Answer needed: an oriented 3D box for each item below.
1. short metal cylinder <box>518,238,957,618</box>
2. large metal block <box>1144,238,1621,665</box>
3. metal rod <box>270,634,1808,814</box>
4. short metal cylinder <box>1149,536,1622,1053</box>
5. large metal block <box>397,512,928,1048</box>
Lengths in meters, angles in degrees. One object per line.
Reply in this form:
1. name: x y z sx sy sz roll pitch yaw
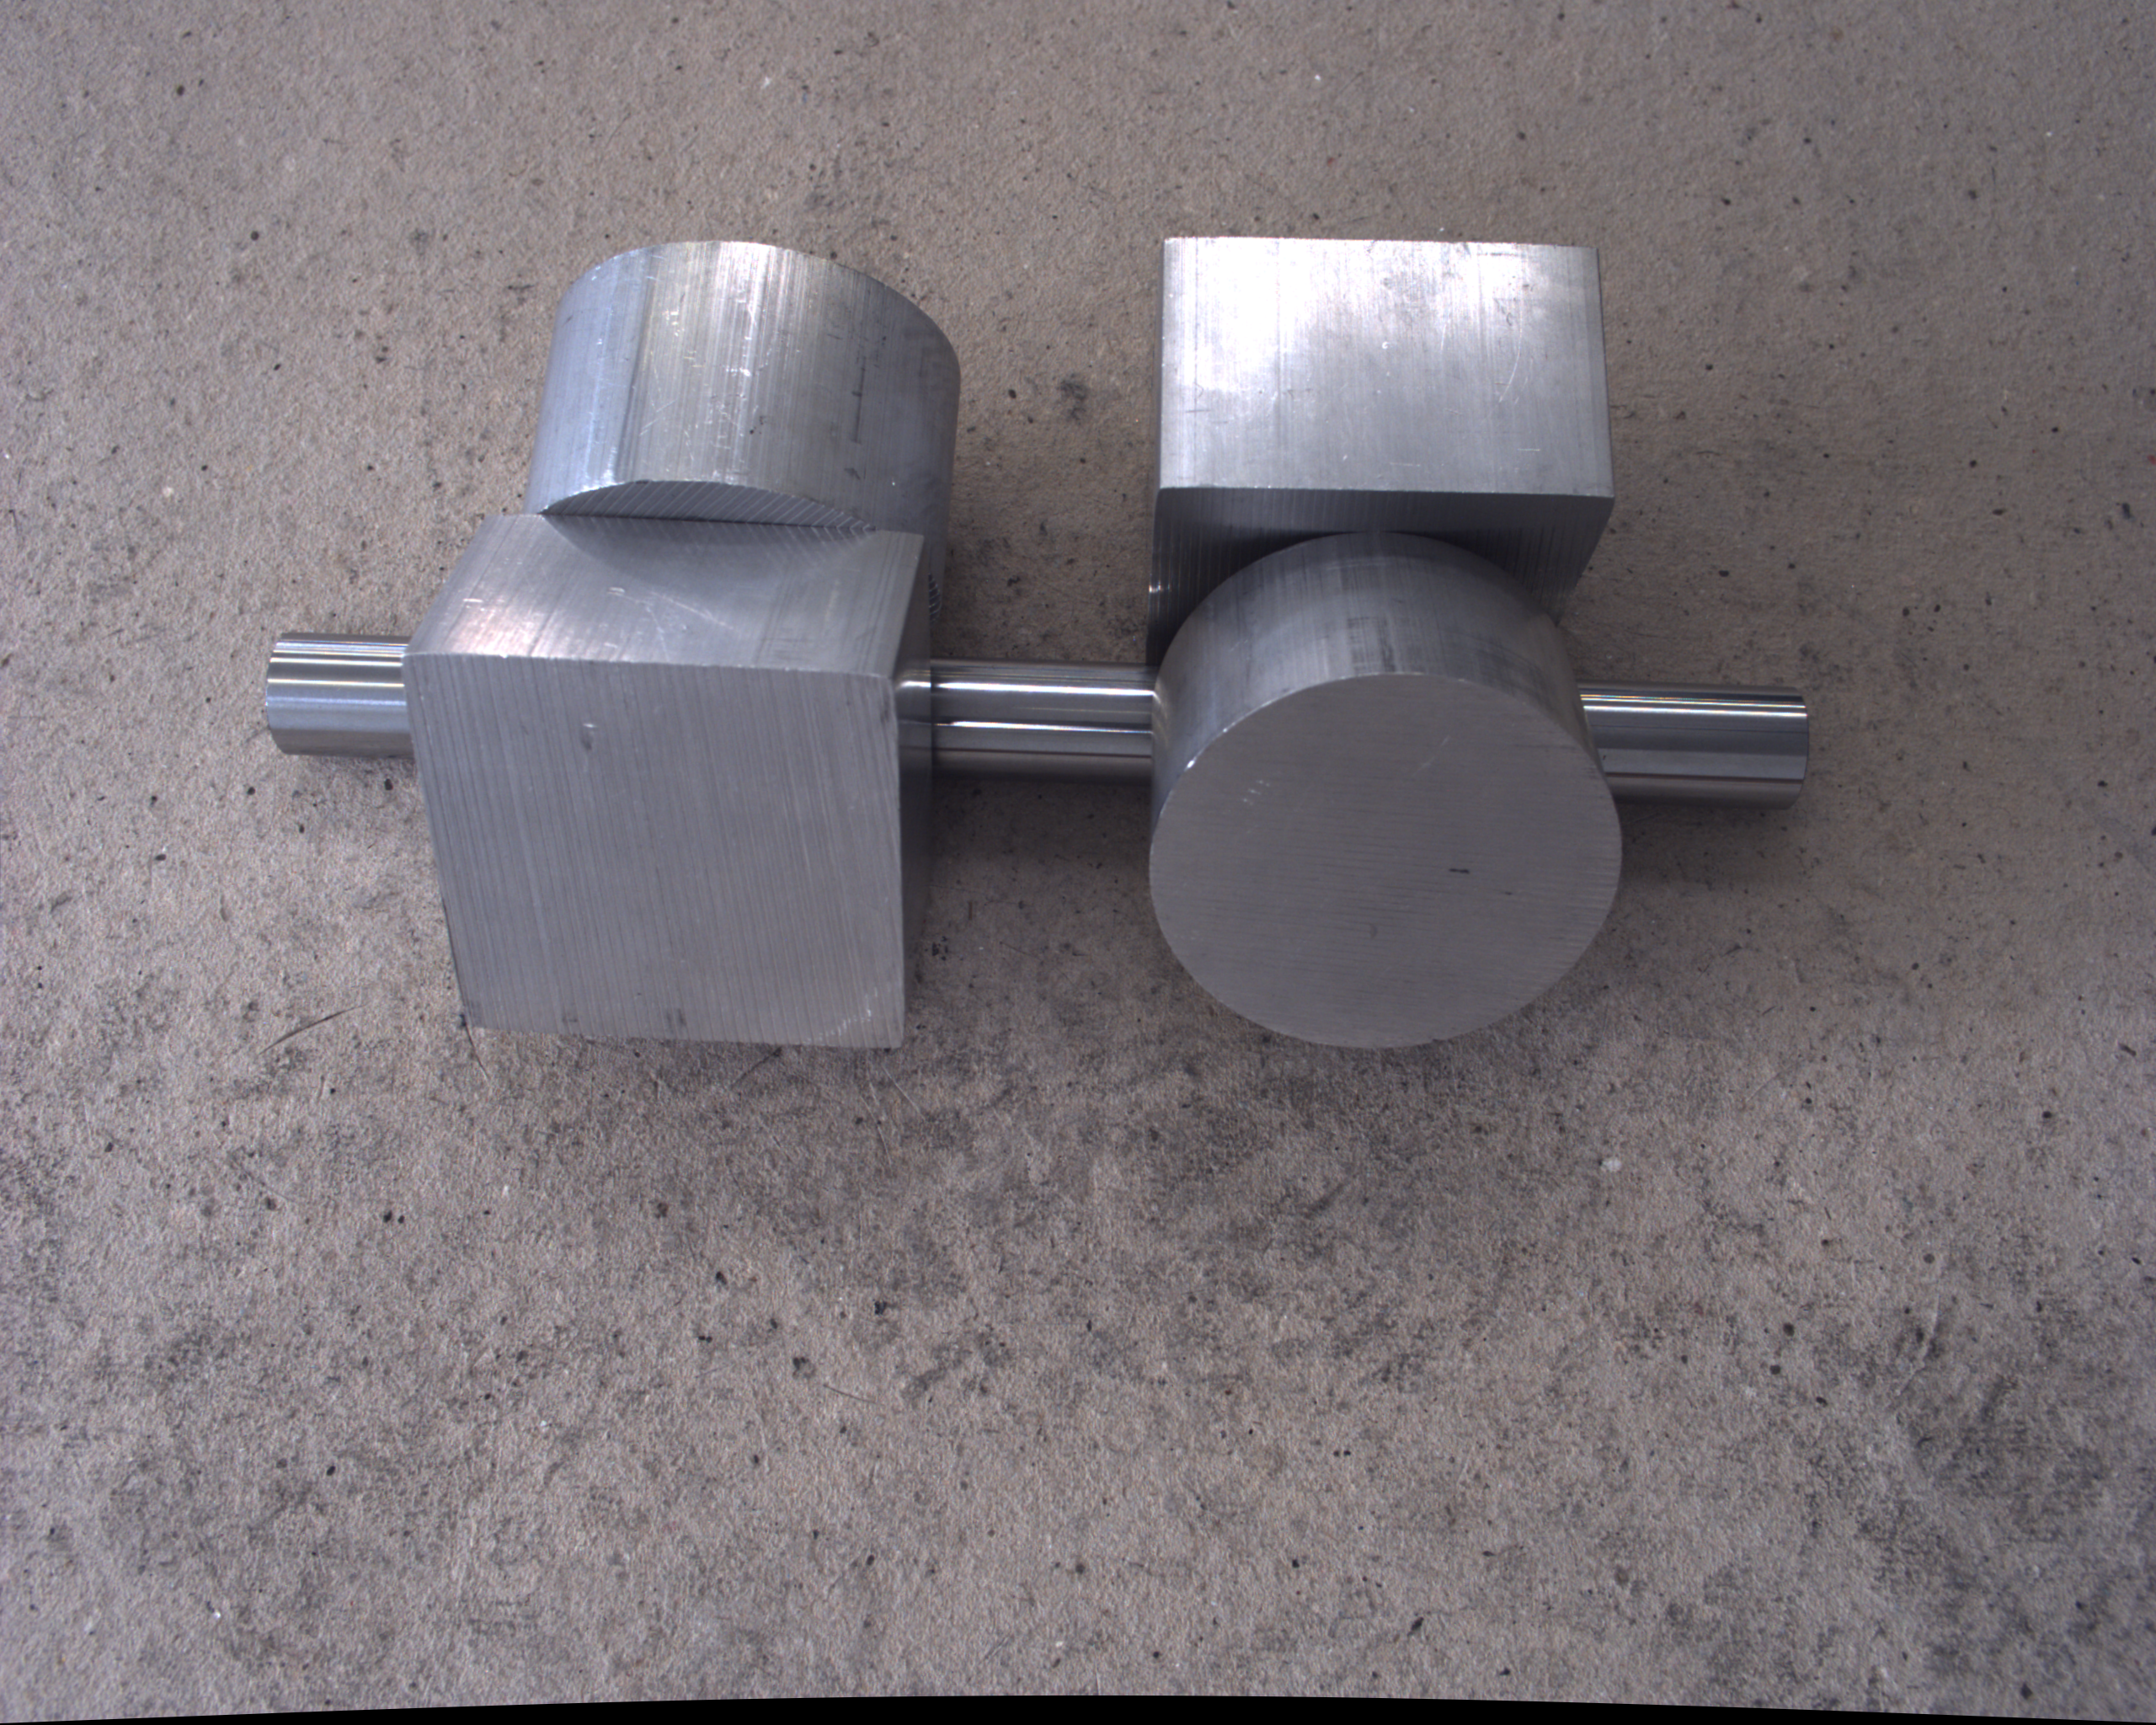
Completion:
1. short metal cylinder: -0.065 -0.076 0.407 0.080 0.080 0.050 3 70 1
2. large metal block: 0.055 -0.076 0.408 0.080 0.080 0.050 1 70 0
3. metal rod: -0.008 -0.028 0.421 0.302 0.025 0.025 2 70 0
4. short metal cylinder: 0.053 -0.012 0.378 0.080 0.079 0.050 2 35 0
5. large metal block: -0.069 -0.015 0.378 0.080 0.079 0.050 3 36 0
